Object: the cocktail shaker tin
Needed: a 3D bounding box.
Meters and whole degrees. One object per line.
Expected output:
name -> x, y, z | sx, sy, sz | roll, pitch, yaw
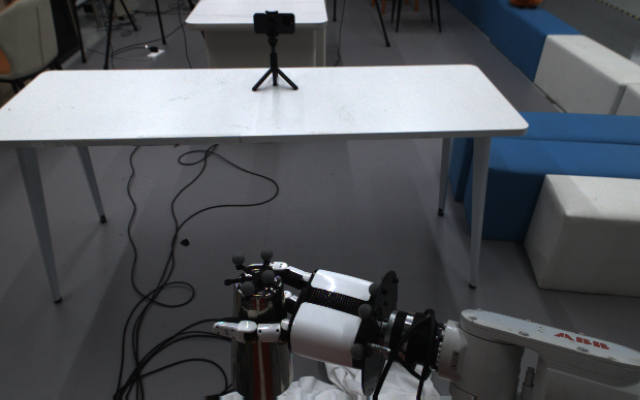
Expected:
cocktail shaker tin -> -0.082, 0.182, 0.686 | 0.093, 0.170, 0.093 | 1, 26, -1
